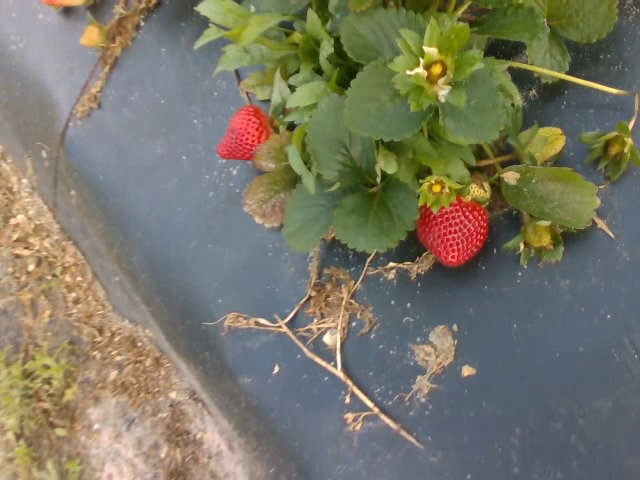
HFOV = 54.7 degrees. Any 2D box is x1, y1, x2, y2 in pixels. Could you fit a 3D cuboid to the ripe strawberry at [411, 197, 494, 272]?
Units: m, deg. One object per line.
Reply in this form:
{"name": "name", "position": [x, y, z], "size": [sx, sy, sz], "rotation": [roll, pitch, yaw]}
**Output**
{"name": "ripe strawberry", "position": [0.075, -0.004, 0.360], "size": [0.046, 0.046, 0.043], "rotation": [28, -42, -34]}

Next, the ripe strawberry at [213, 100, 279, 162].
{"name": "ripe strawberry", "position": [-0.051, -0.072, 0.438], "size": [0.050, 0.043, 0.042], "rotation": [-37, -21, 9]}
